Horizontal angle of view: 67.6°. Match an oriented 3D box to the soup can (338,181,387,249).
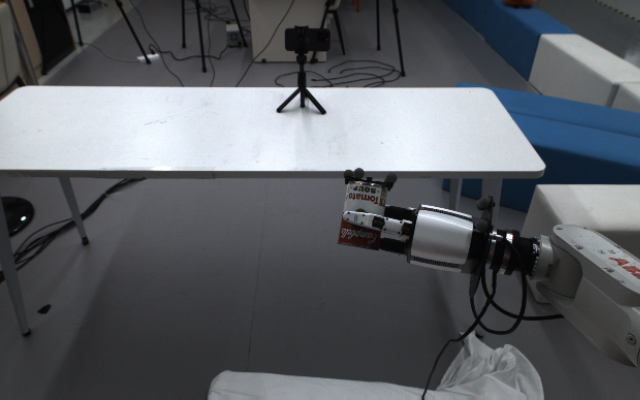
[{"bbox_3d":[0.070,0.025,0.777,0.067,0.101,0.067,9,-5,1],"label":"soup can"}]
